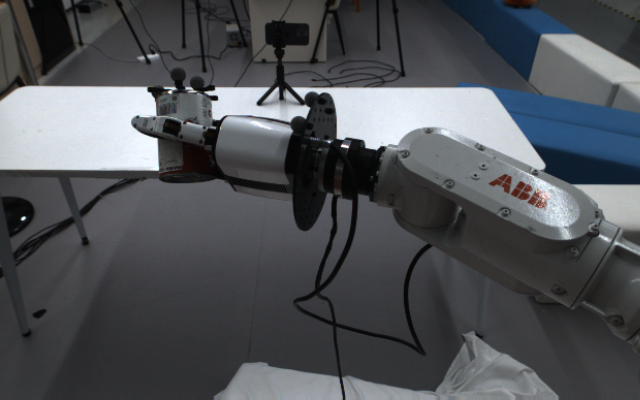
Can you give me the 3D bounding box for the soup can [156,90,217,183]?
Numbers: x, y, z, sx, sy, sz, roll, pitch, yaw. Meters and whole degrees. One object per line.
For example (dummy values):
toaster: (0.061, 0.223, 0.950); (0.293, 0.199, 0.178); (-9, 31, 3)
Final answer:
soup can: (-0.162, -0.074, 0.591); (0.067, 0.101, 0.067); (-5, -5, 0)
